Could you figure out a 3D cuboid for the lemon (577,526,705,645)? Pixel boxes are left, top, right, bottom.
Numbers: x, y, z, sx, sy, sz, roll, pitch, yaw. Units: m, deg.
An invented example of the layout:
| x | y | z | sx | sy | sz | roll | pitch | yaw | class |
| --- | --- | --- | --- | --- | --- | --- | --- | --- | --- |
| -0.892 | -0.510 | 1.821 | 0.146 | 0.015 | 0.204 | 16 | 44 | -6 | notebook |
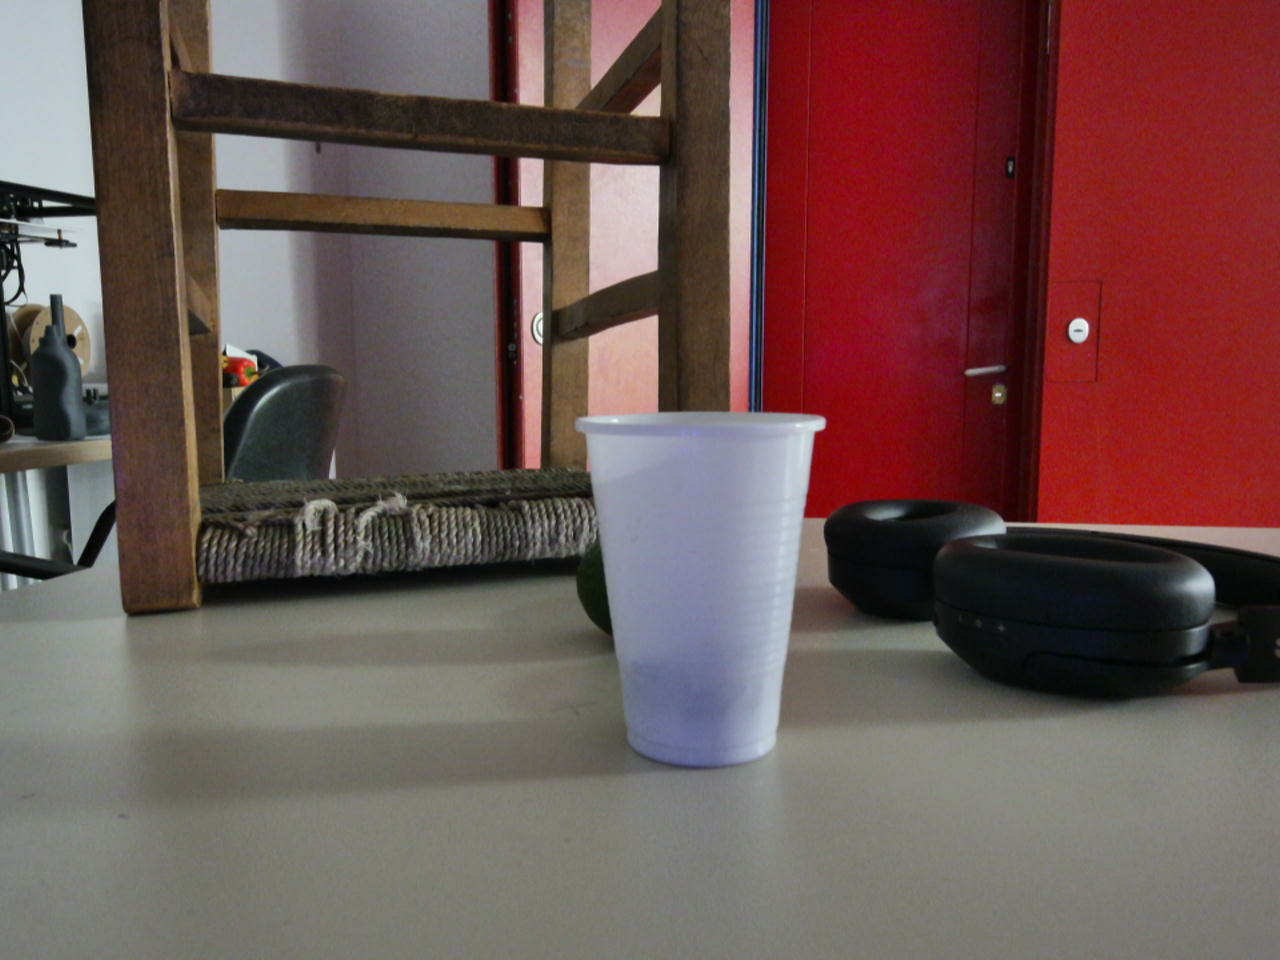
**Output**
| x | y | z | sx | sy | sz | roll | pitch | yaw | class |
| --- | --- | --- | --- | --- | --- | --- | --- | --- | --- |
| 0.001 | 0.046 | 0.442 | 0.057 | 0.051 | 0.054 | 1 | 4 | 8 | lemon |
